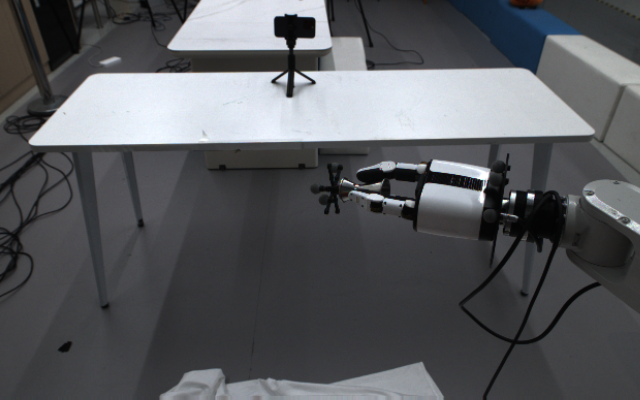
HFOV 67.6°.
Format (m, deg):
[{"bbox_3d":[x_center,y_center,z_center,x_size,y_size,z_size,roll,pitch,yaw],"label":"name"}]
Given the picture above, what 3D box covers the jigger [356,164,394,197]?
[{"bbox_3d":[0.074,-0.020,0.731,0.071,0.043,0.043,3,32,26],"label":"jigger"}]
